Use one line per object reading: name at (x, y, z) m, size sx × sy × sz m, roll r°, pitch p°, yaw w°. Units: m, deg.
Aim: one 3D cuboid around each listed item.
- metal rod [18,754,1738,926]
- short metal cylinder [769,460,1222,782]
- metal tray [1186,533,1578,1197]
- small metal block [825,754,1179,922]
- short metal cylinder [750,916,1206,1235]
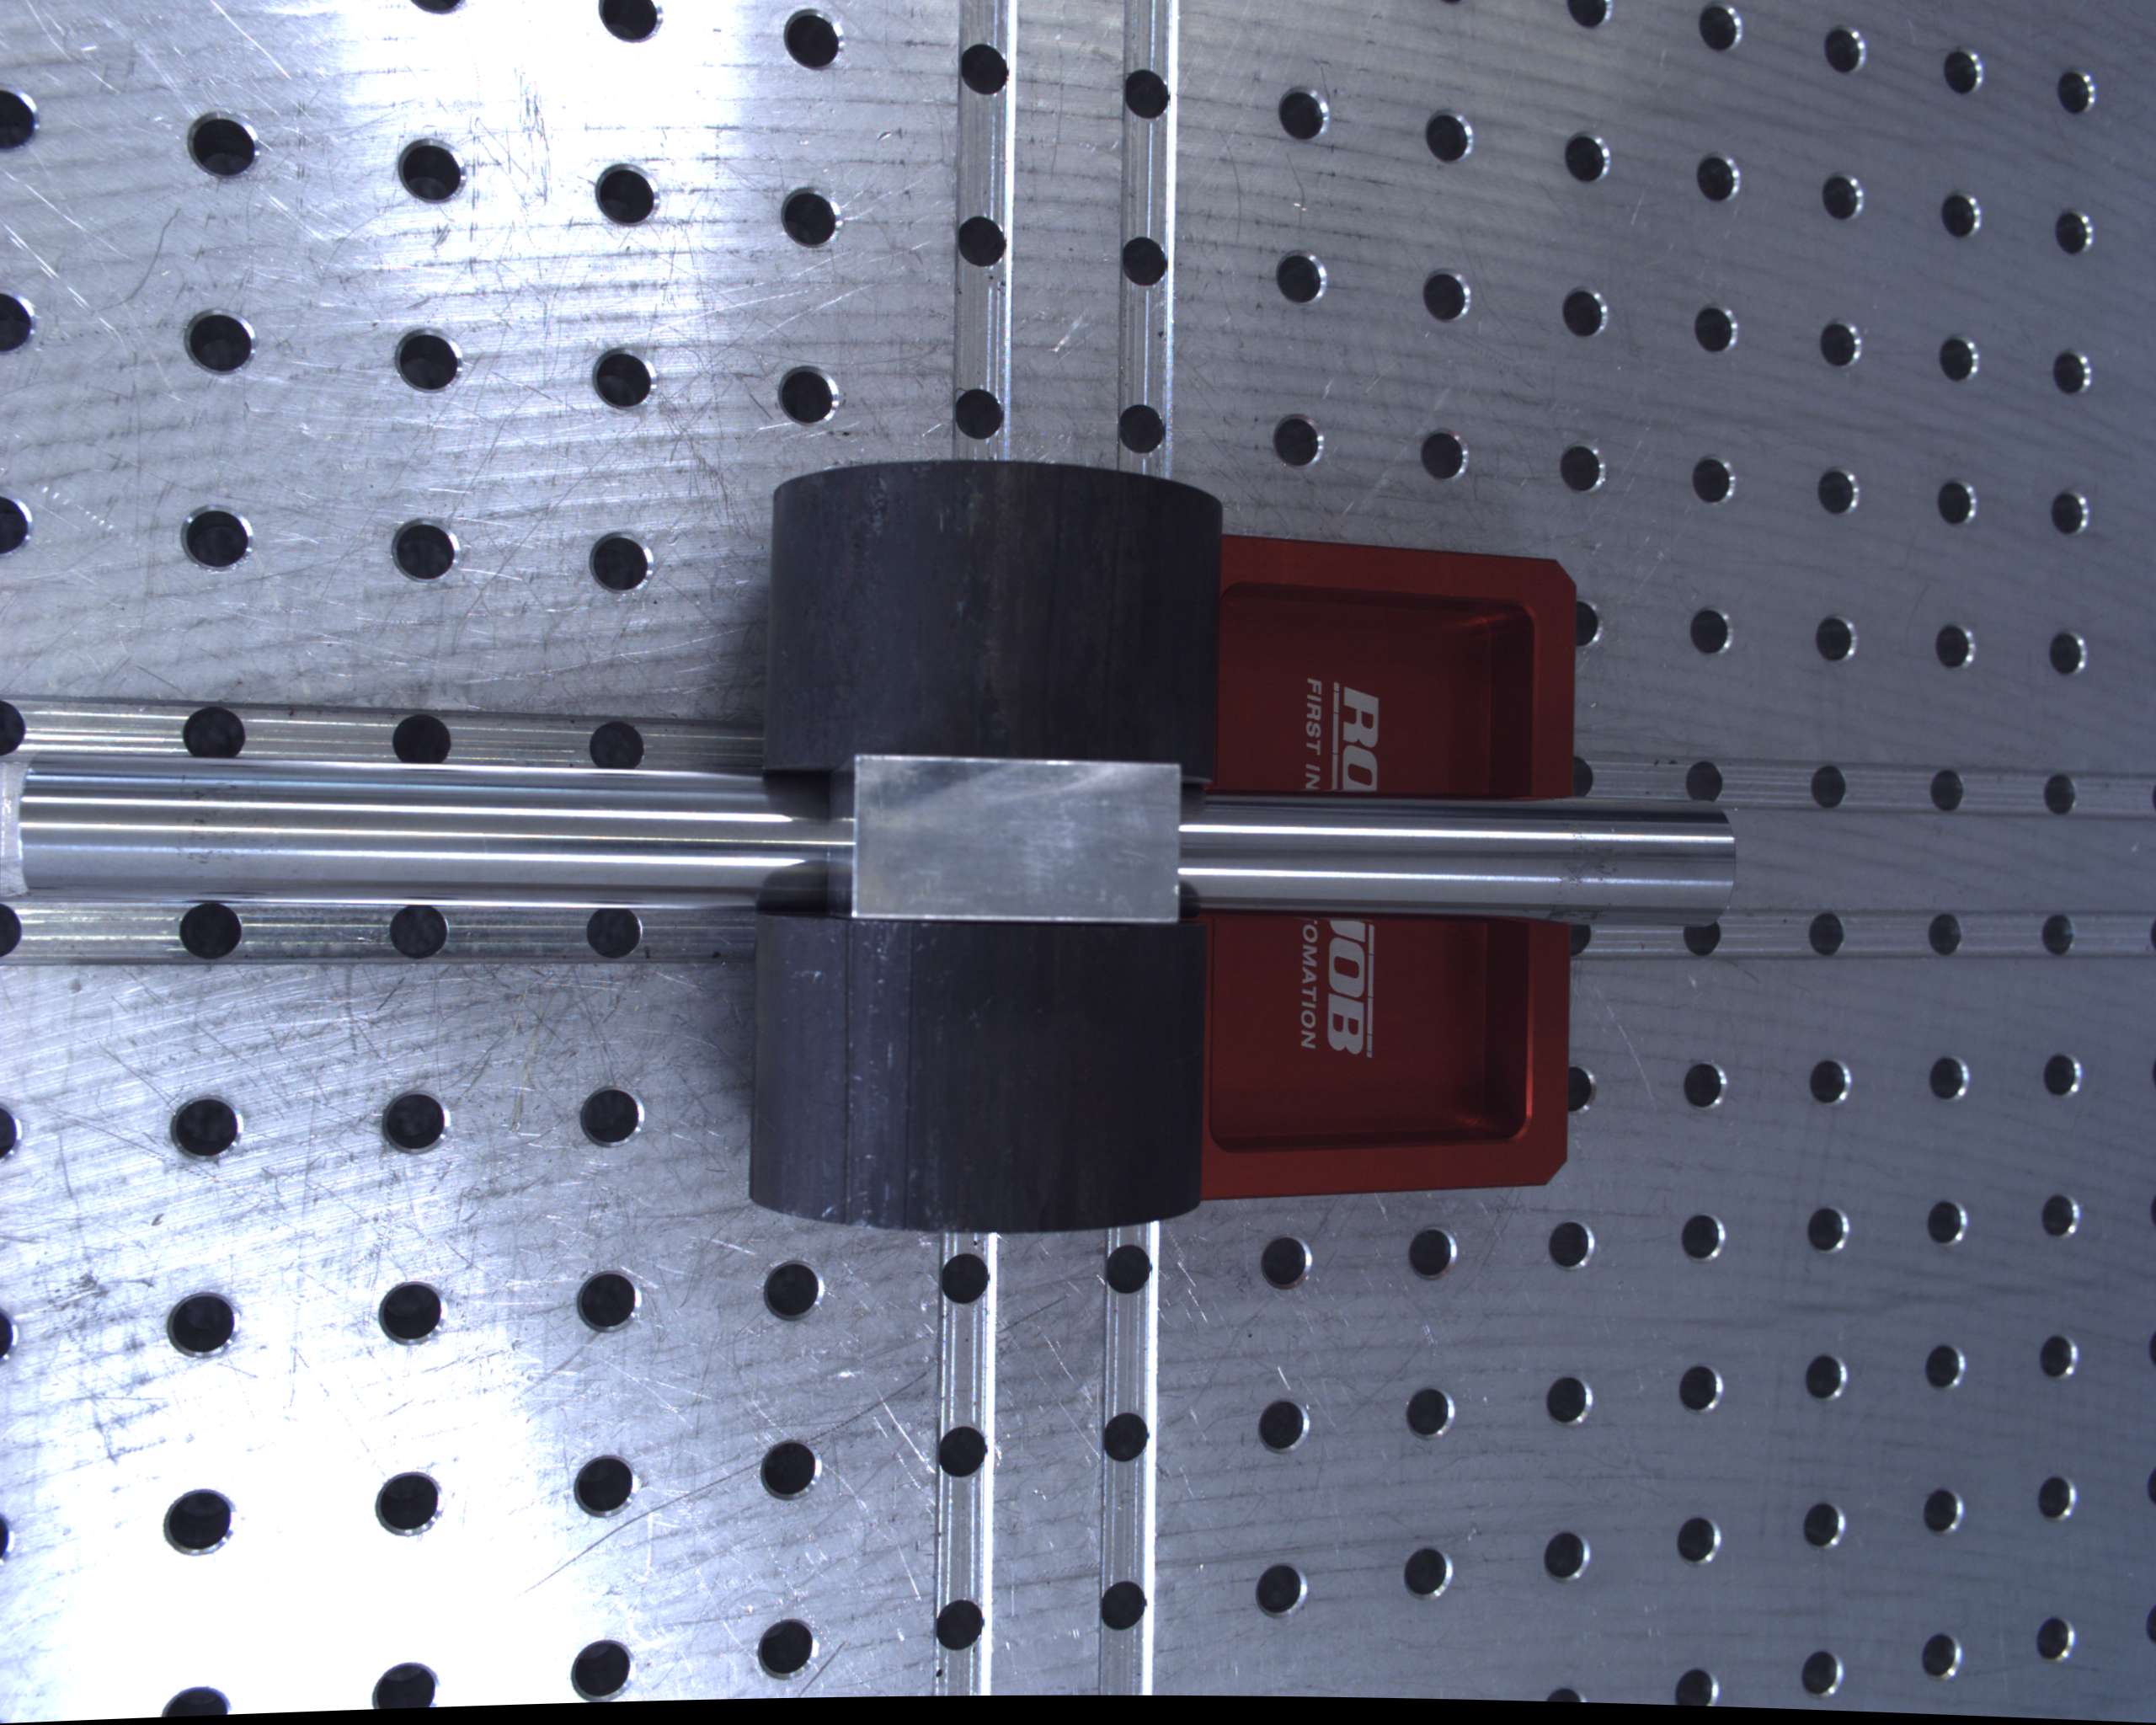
metal rod at (-0.025, -0.003, 0.378) m, size 0.302 × 0.025 × 0.025 m, roll 1°, pitch 90°, yaw -11°
short metal cylinder at (-0.015, -0.040, 0.376) m, size 0.081 × 0.080 × 0.050 m, roll 1°, pitch 90°, yaw -20°
metal tray at (0.055, 0.001, 0.430) m, size 0.091 × 0.030 × 0.129 m, roll 1°, pitch 90°, yaw -20°
small metal block at (-0.014, -0.004, 0.343) m, size 0.050 × 0.050 × 0.025 m, roll 1°, pitch 90°, yaw -12°
short metal cylinder at (-0.018, 0.035, 0.376) m, size 0.081 × 0.080 × 0.050 m, roll 1°, pitch 90°, yaw -20°
